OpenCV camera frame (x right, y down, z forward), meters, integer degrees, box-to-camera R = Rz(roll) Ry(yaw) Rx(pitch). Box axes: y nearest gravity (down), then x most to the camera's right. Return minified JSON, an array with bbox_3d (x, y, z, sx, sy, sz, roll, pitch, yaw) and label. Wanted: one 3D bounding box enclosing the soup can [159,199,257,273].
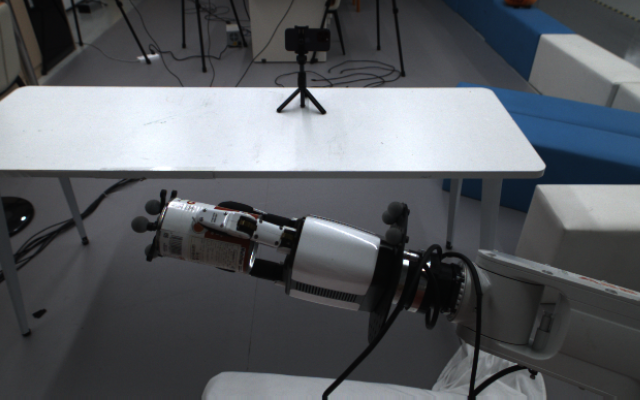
[{"bbox_3d":[-0.118,0.040,0.538,0.101,0.067,0.067,12,35,-1],"label":"soup can"}]
